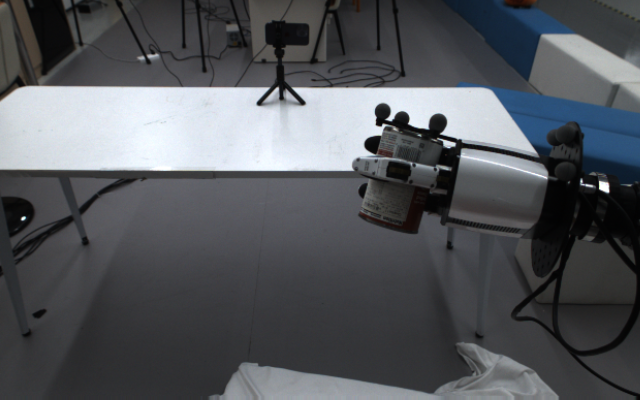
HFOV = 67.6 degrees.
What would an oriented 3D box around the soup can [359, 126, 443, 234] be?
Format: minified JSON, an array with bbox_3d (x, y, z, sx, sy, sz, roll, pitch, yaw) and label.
[{"bbox_3d":[0.089,-0.022,0.526,0.067,0.101,0.067,15,7,-2],"label":"soup can"}]
